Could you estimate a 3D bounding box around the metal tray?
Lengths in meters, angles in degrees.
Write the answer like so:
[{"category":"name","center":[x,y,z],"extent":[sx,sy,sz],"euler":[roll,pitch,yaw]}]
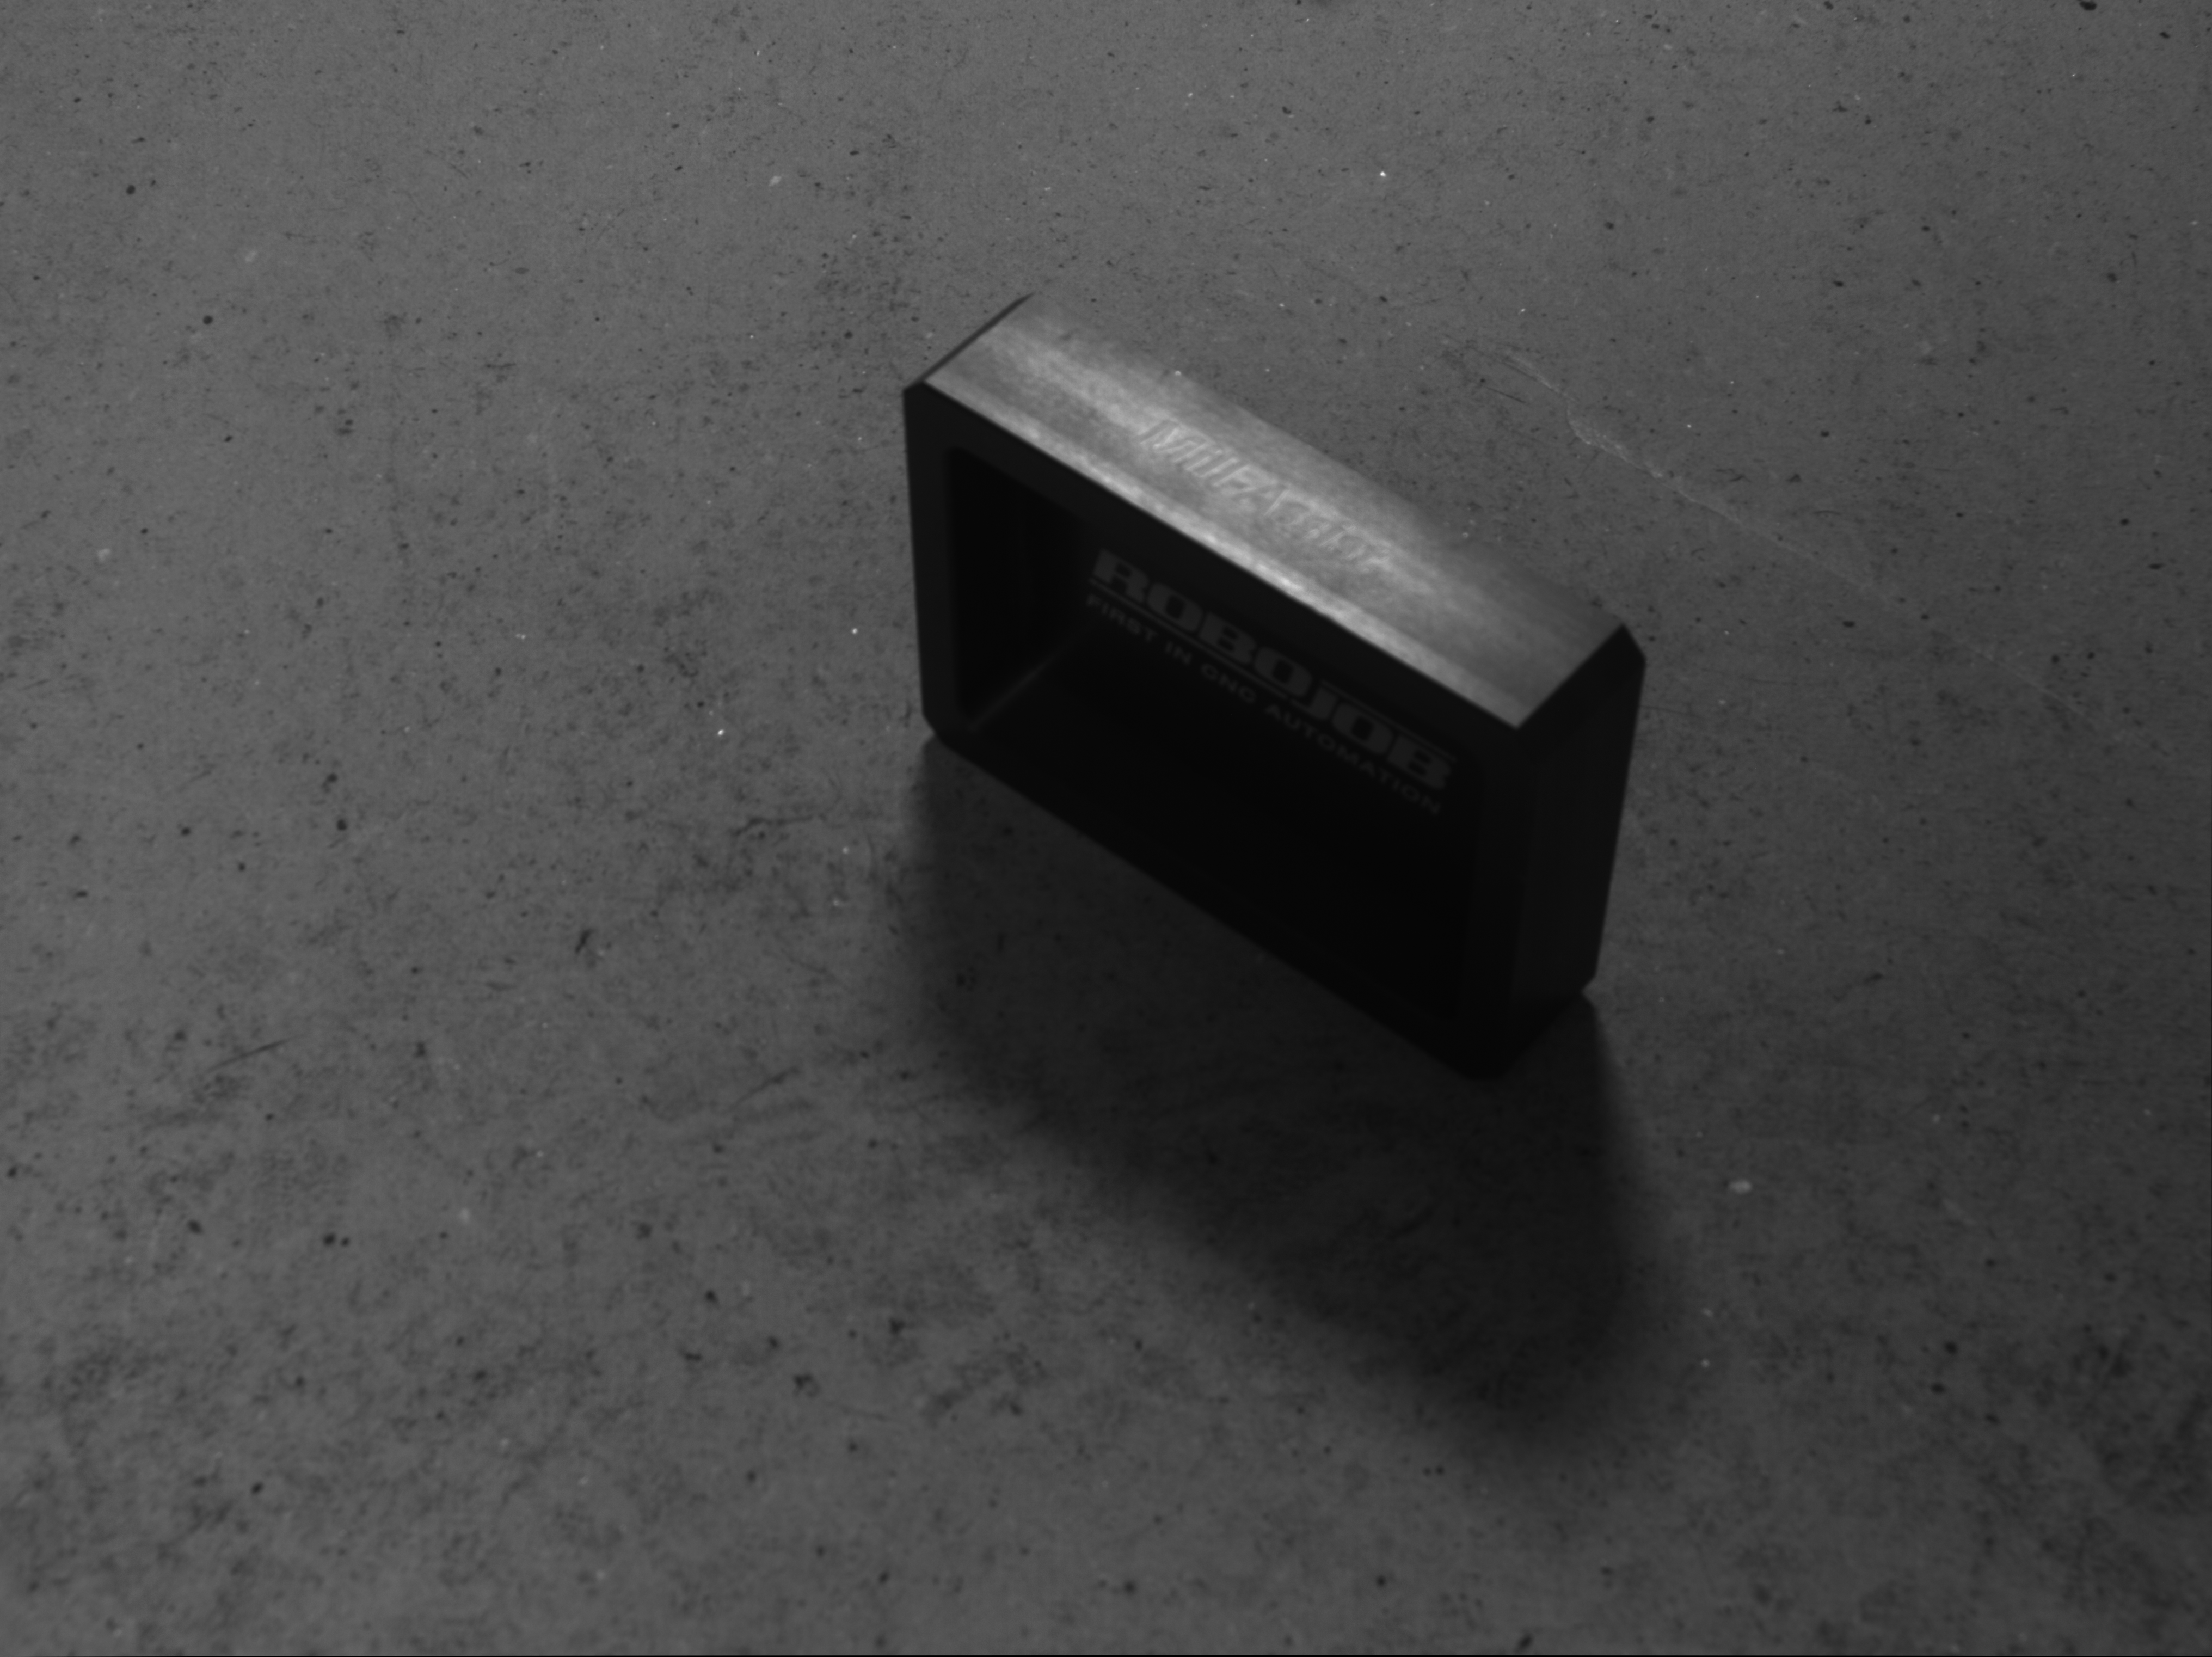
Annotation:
[{"category":"metal tray","center":[0.028,-0.024,0.620],"extent":[0.130,0.090,0.030],"euler":[32,57,24]}]
